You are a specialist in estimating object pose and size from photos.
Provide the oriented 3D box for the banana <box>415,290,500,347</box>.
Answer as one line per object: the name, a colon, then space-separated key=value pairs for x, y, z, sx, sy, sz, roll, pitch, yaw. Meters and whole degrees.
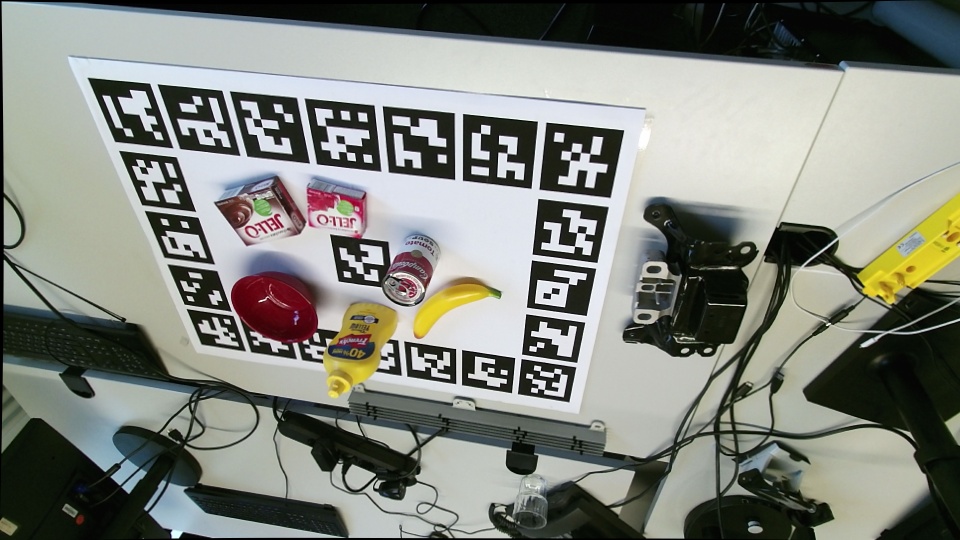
banana: x=-0.058 y=0.082 z=0.938 sx=0.074 sy=0.038 sz=0.197 roll=36 pitch=126 yaw=-27

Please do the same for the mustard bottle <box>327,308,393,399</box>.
mustard bottle: x=-0.220 y=0.147 z=0.911 sx=0.096 sy=0.191 sz=0.058 roll=8 pitch=130 yaw=7

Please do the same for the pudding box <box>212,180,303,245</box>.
pudding box: x=-0.360 y=-0.088 z=0.872 sx=0.114 sy=0.038 sz=0.090 roll=-13 pitch=117 yaw=21

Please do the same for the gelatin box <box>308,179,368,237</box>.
gelatin box: x=-0.223 y=-0.096 z=0.843 sx=0.090 sy=0.030 sz=0.073 roll=13 pitch=125 yaw=2

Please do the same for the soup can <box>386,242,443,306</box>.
soup can: x=-0.103 y=0.012 z=0.842 sx=0.068 sy=0.101 sz=0.068 roll=7 pitch=129 yaw=9

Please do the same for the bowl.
bowl: x=-0.374 y=0.064 z=0.984 sx=0.162 sy=0.055 sz=0.162 roll=5 pitch=128 yaw=7
